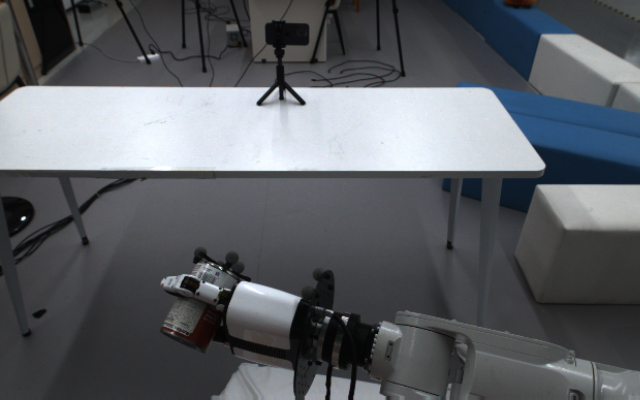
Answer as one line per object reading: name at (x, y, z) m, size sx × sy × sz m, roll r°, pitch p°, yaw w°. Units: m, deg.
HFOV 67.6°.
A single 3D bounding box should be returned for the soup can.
soup can at (-0.154, 0.141, 0.636) m, size 0.067 × 0.067 × 0.101 m, roll 15°, pitch 63°, yaw 18°
